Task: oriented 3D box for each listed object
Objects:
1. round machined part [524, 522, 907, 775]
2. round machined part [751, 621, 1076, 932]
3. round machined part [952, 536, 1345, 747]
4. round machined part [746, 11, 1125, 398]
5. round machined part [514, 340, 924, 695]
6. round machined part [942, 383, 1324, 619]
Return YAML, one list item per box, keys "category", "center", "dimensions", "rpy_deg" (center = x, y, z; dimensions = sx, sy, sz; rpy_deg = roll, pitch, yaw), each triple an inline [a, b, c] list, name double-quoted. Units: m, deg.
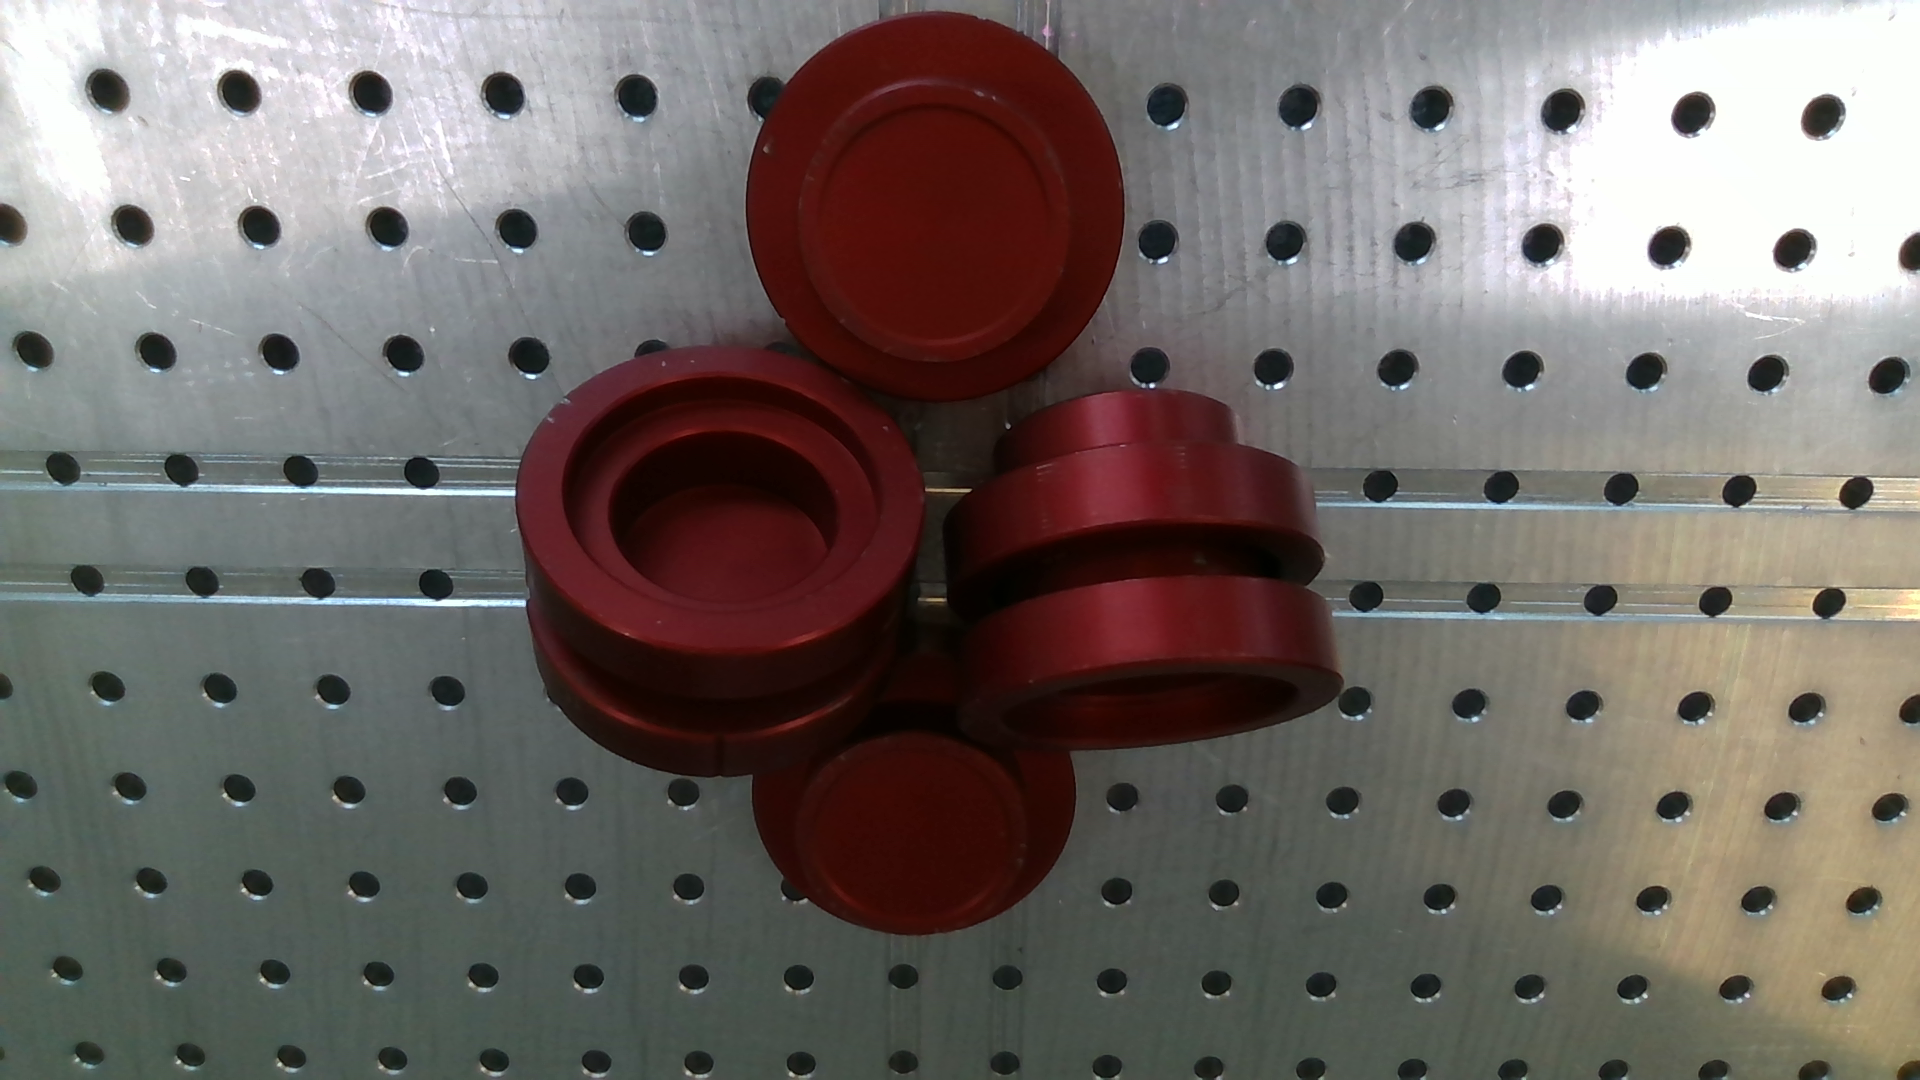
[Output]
- category: "round machined part"
  center: [-0.065, 0.021, 0.374]
  dimensions: [0.098, 0.098, 0.042]
  rpy_deg: [10, 141, -3]
- category: "round machined part"
  center: [-0.014, 0.077, 0.415]
  dimensions: [0.098, 0.042, 0.098]
  rpy_deg: [0, 110, 0]
- category: "round machined part"
  center: [0.047, 0.023, 0.358]
  dimensions: [0.098, 0.098, 0.042]
  rpy_deg: [-5, 70, 2]
- category: "round machined part"
  center: [-0.006, -0.084, 0.355]
  dimensions: [0.098, 0.042, 0.098]
  rpy_deg: [0, 110, 0]
- category: "round machined part"
  center: [-0.060, -0.002, 0.351]
  dimensions: [0.098, 0.098, 0.042]
  rpy_deg: [9, 141, -3]
- category: "round machined part"
  center: [0.044, -0.008, 0.366]
  dimensions: [0.098, 0.098, 0.042]
  rpy_deg: [-5, 70, 2]
